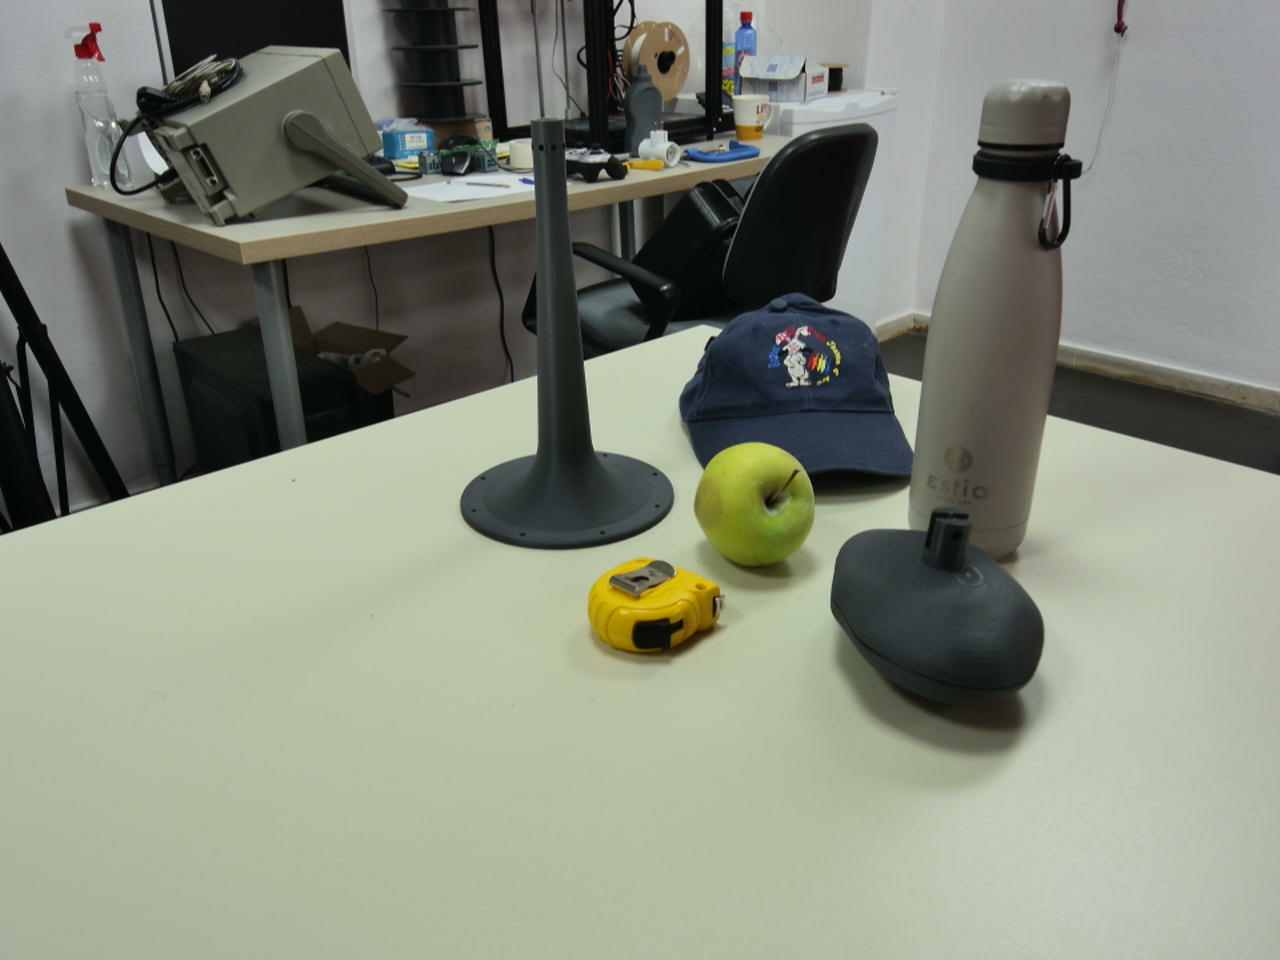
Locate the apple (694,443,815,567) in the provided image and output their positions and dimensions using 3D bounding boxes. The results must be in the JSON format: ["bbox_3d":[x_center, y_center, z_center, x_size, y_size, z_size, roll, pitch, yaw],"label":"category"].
[{"bbox_3d":[0.070,0.014,0.612,0.072,0.075,0.077,1,24,1],"label":"apple"}]
